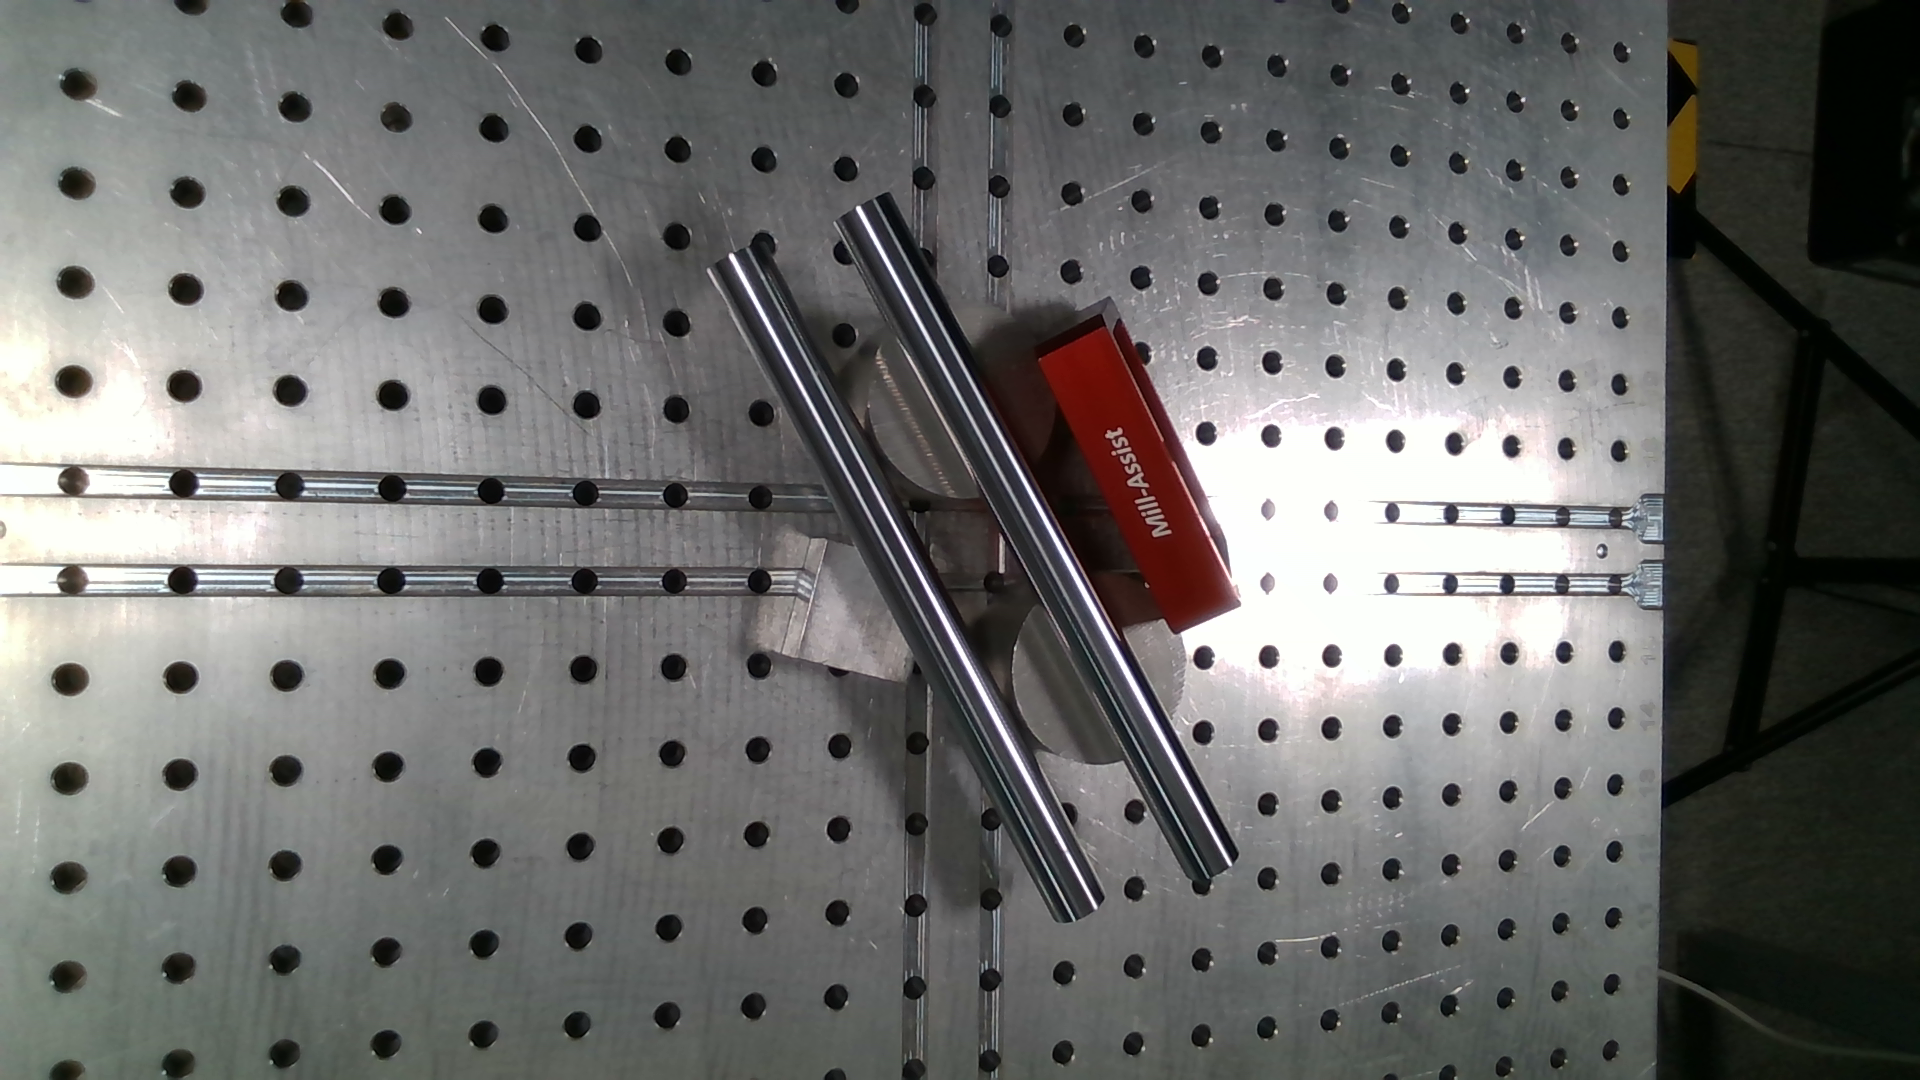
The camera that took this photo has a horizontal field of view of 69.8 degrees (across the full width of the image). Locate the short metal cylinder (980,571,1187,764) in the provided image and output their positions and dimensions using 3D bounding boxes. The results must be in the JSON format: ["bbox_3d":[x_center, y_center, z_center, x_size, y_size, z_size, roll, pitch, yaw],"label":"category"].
[{"bbox_3d":[0.050,0.053,0.594,0.080,0.050,0.080,0,90,-20],"label":"short metal cylinder"}]

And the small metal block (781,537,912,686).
[{"bbox_3d":[-0.042,0.029,0.572,0.050,0.025,0.050,16,85,-20],"label":"small metal block"}]

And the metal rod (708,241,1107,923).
[{"bbox_3d":[-0.018,0.022,0.554,0.025,0.025,0.300,-31,100,-18],"label":"metal rod"}]

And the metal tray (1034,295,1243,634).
[{"bbox_3d":[0.076,-0.035,0.580,0.030,0.090,0.130,-25,100,14],"label":"metal tray"}]

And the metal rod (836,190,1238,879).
[{"bbox_3d":[0.034,0.004,0.547,0.025,0.025,0.300,-32,101,-17],"label":"metal rod"}]

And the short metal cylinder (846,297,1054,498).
[{"bbox_3d":[-0.008,-0.057,0.572,0.080,0.050,0.080,0,90,-20],"label":"short metal cylinder"}]
